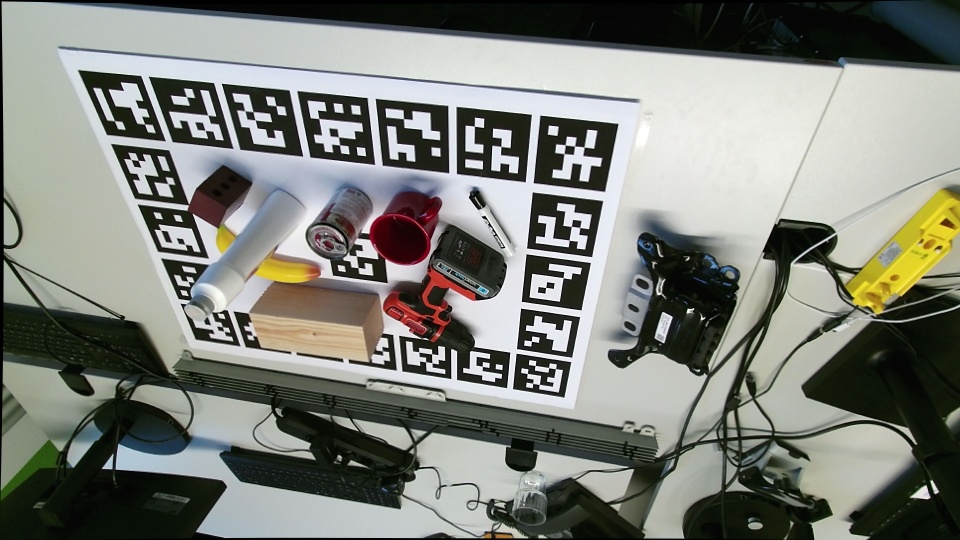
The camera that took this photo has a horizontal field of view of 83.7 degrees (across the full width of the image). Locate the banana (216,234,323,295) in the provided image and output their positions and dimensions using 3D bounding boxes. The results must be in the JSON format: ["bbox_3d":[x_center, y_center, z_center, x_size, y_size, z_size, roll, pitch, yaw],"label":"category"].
[{"bbox_3d":[-0.373,0.004,0.938,0.198,0.039,0.074,21,114,-1],"label":"banana"}]

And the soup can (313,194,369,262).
[{"bbox_3d":[-0.216,-0.061,0.811,0.068,0.101,0.068,8,131,9],"label":"soup can"}]

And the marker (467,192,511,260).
[{"bbox_3d":[0.014,-0.066,0.820,0.020,0.019,0.121,-19,119,22],"label":"marker"}]

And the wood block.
[{"bbox_3d":[-0.300,0.098,0.966,0.207,0.090,0.090,7,126,7],"label":"wood block"}]

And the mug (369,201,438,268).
[{"bbox_3d":[-0.107,-0.059,0.808,0.117,0.081,0.093,-36,110,28],"label":"mug"}]

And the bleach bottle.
[{"bbox_3d":[-0.353,-0.013,0.790,0.068,0.250,0.103,31,128,-12],"label":"bleach bottle"}]

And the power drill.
[{"bbox_3d":[-0.062,0.053,0.905,0.185,0.057,0.187,33,128,-8],"label":"power drill"}]

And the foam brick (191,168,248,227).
[{"bbox_3d":[-0.414,-0.112,0.841,0.053,0.078,0.051,34,128,-16],"label":"foam brick"}]
